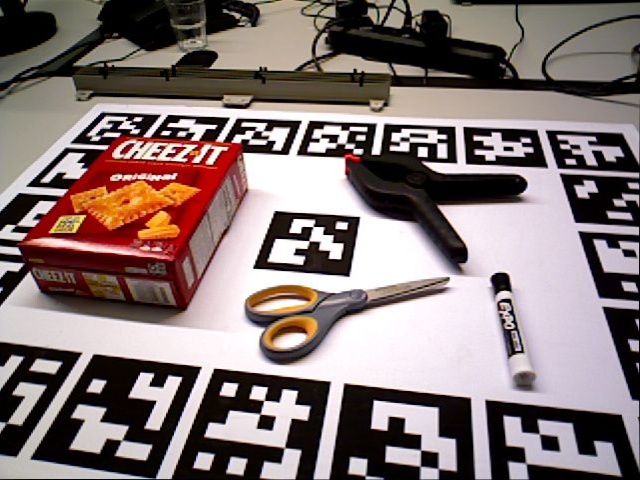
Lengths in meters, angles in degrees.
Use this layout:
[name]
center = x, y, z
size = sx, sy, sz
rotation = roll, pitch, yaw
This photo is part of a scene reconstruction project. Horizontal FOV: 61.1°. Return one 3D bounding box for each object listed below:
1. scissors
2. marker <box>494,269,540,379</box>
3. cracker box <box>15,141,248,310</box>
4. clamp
[scissors]
center = 0.031, 0.056, 0.504
size = 0.200, 0.016, 0.087
rotation = -13, 39, -15
[marker]
center = 0.171, 0.068, 0.477
size = 0.019, 0.020, 0.118
rotation = 1, 39, 6
[cracker box]
center = -0.187, -0.029, 0.585
size = 0.164, 0.073, 0.209
rotation = 4, 40, 10
[clamp]
center = 0.108, -0.053, 0.638
size = 0.203, 0.037, 0.161
rotation = 26, 47, 30
